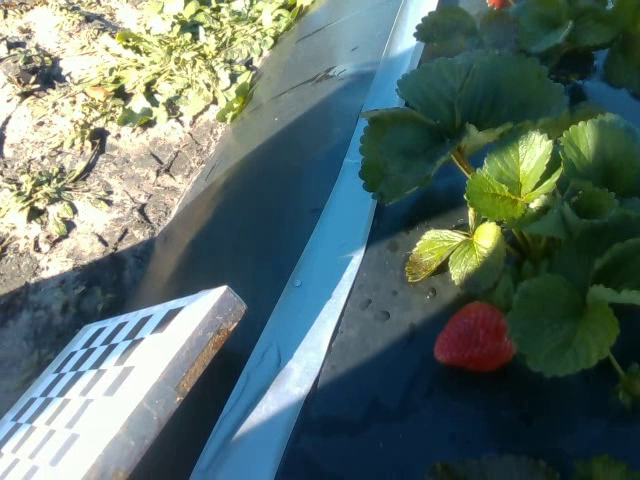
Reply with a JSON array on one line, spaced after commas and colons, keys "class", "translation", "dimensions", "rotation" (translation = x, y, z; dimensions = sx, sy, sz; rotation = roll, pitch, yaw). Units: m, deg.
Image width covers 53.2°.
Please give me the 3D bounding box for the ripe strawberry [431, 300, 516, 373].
[{"class": "ripe strawberry", "translation": [0.088, 0.058, 0.367], "dimensions": [0.058, 0.042, 0.045], "rotation": [-26, 16, -15]}]
